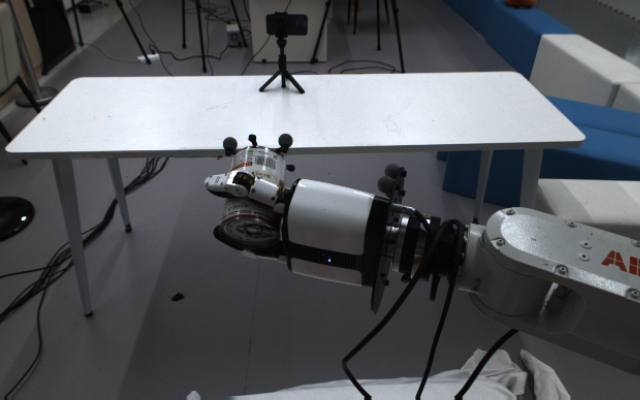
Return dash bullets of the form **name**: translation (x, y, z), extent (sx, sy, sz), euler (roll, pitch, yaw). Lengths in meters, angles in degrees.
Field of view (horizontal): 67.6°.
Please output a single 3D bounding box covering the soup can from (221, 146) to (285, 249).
- **soup can**: translation (-0.074, -0.002, 0.560), extent (0.067, 0.067, 0.101), euler (3, 58, 1)
